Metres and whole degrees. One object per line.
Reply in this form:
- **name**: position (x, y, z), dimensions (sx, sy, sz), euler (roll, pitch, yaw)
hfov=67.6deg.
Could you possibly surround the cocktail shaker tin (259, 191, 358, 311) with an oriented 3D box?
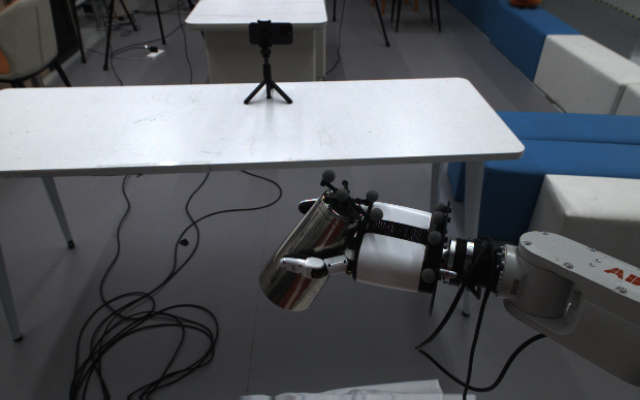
- **cocktail shaker tin**: position (-0.009, 0.064, 0.685), dimensions (0.093, 0.170, 0.093), euler (26, 32, -18)
